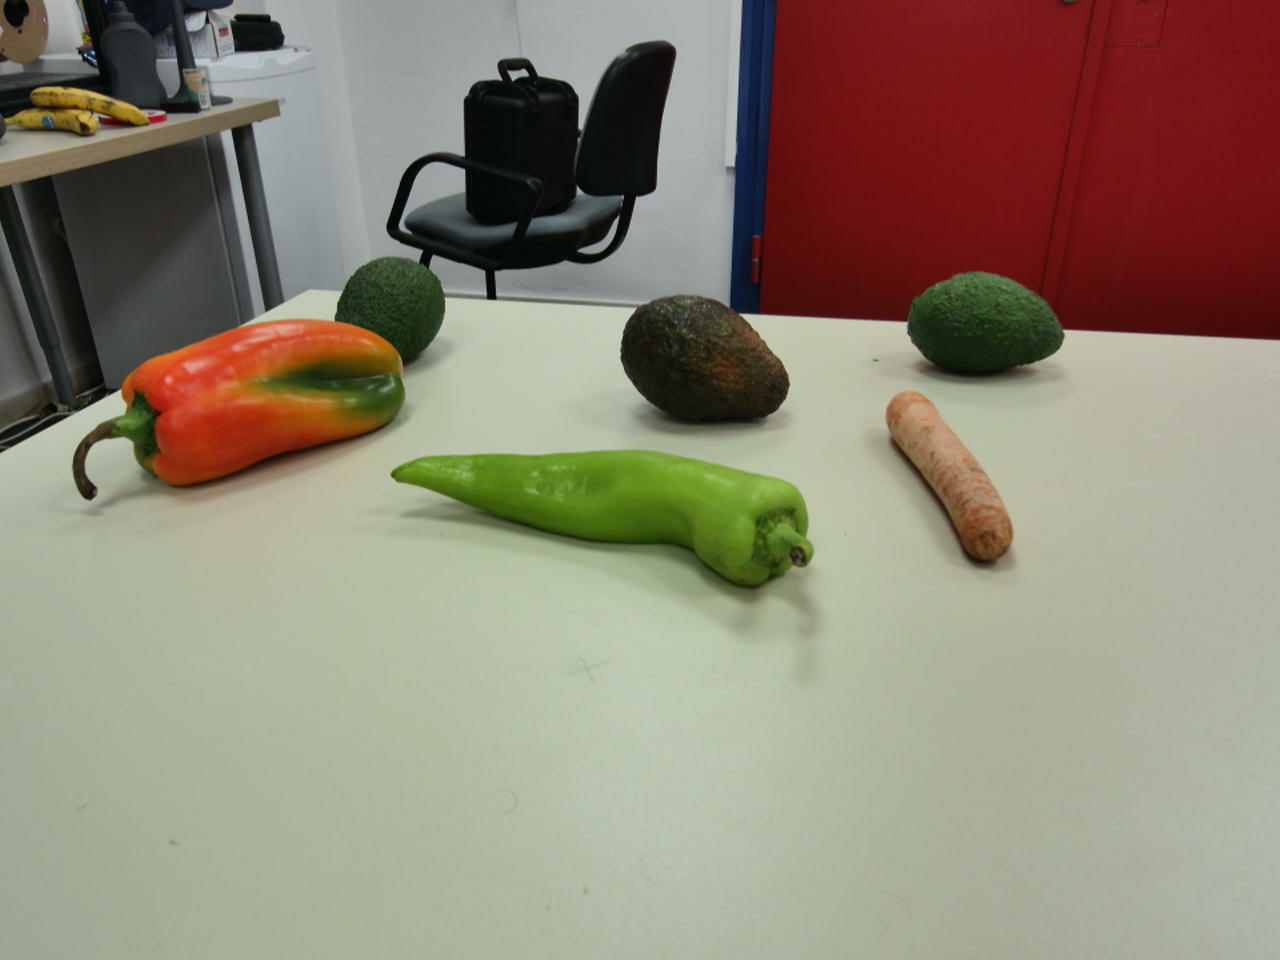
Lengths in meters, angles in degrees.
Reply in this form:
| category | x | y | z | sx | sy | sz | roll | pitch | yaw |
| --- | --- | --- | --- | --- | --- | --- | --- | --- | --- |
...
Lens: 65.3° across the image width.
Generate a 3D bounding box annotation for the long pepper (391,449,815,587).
| category | x | y | z | sx | sy | sz | roll | pitch | yaw |
| --- | --- | --- | --- | --- | --- | --- | --- | --- | --- |
| long pepper | -0.013 | 0.007 | 0.441 | 0.205 | 0.045 | 0.065 | 13 | 27 | 27 |
